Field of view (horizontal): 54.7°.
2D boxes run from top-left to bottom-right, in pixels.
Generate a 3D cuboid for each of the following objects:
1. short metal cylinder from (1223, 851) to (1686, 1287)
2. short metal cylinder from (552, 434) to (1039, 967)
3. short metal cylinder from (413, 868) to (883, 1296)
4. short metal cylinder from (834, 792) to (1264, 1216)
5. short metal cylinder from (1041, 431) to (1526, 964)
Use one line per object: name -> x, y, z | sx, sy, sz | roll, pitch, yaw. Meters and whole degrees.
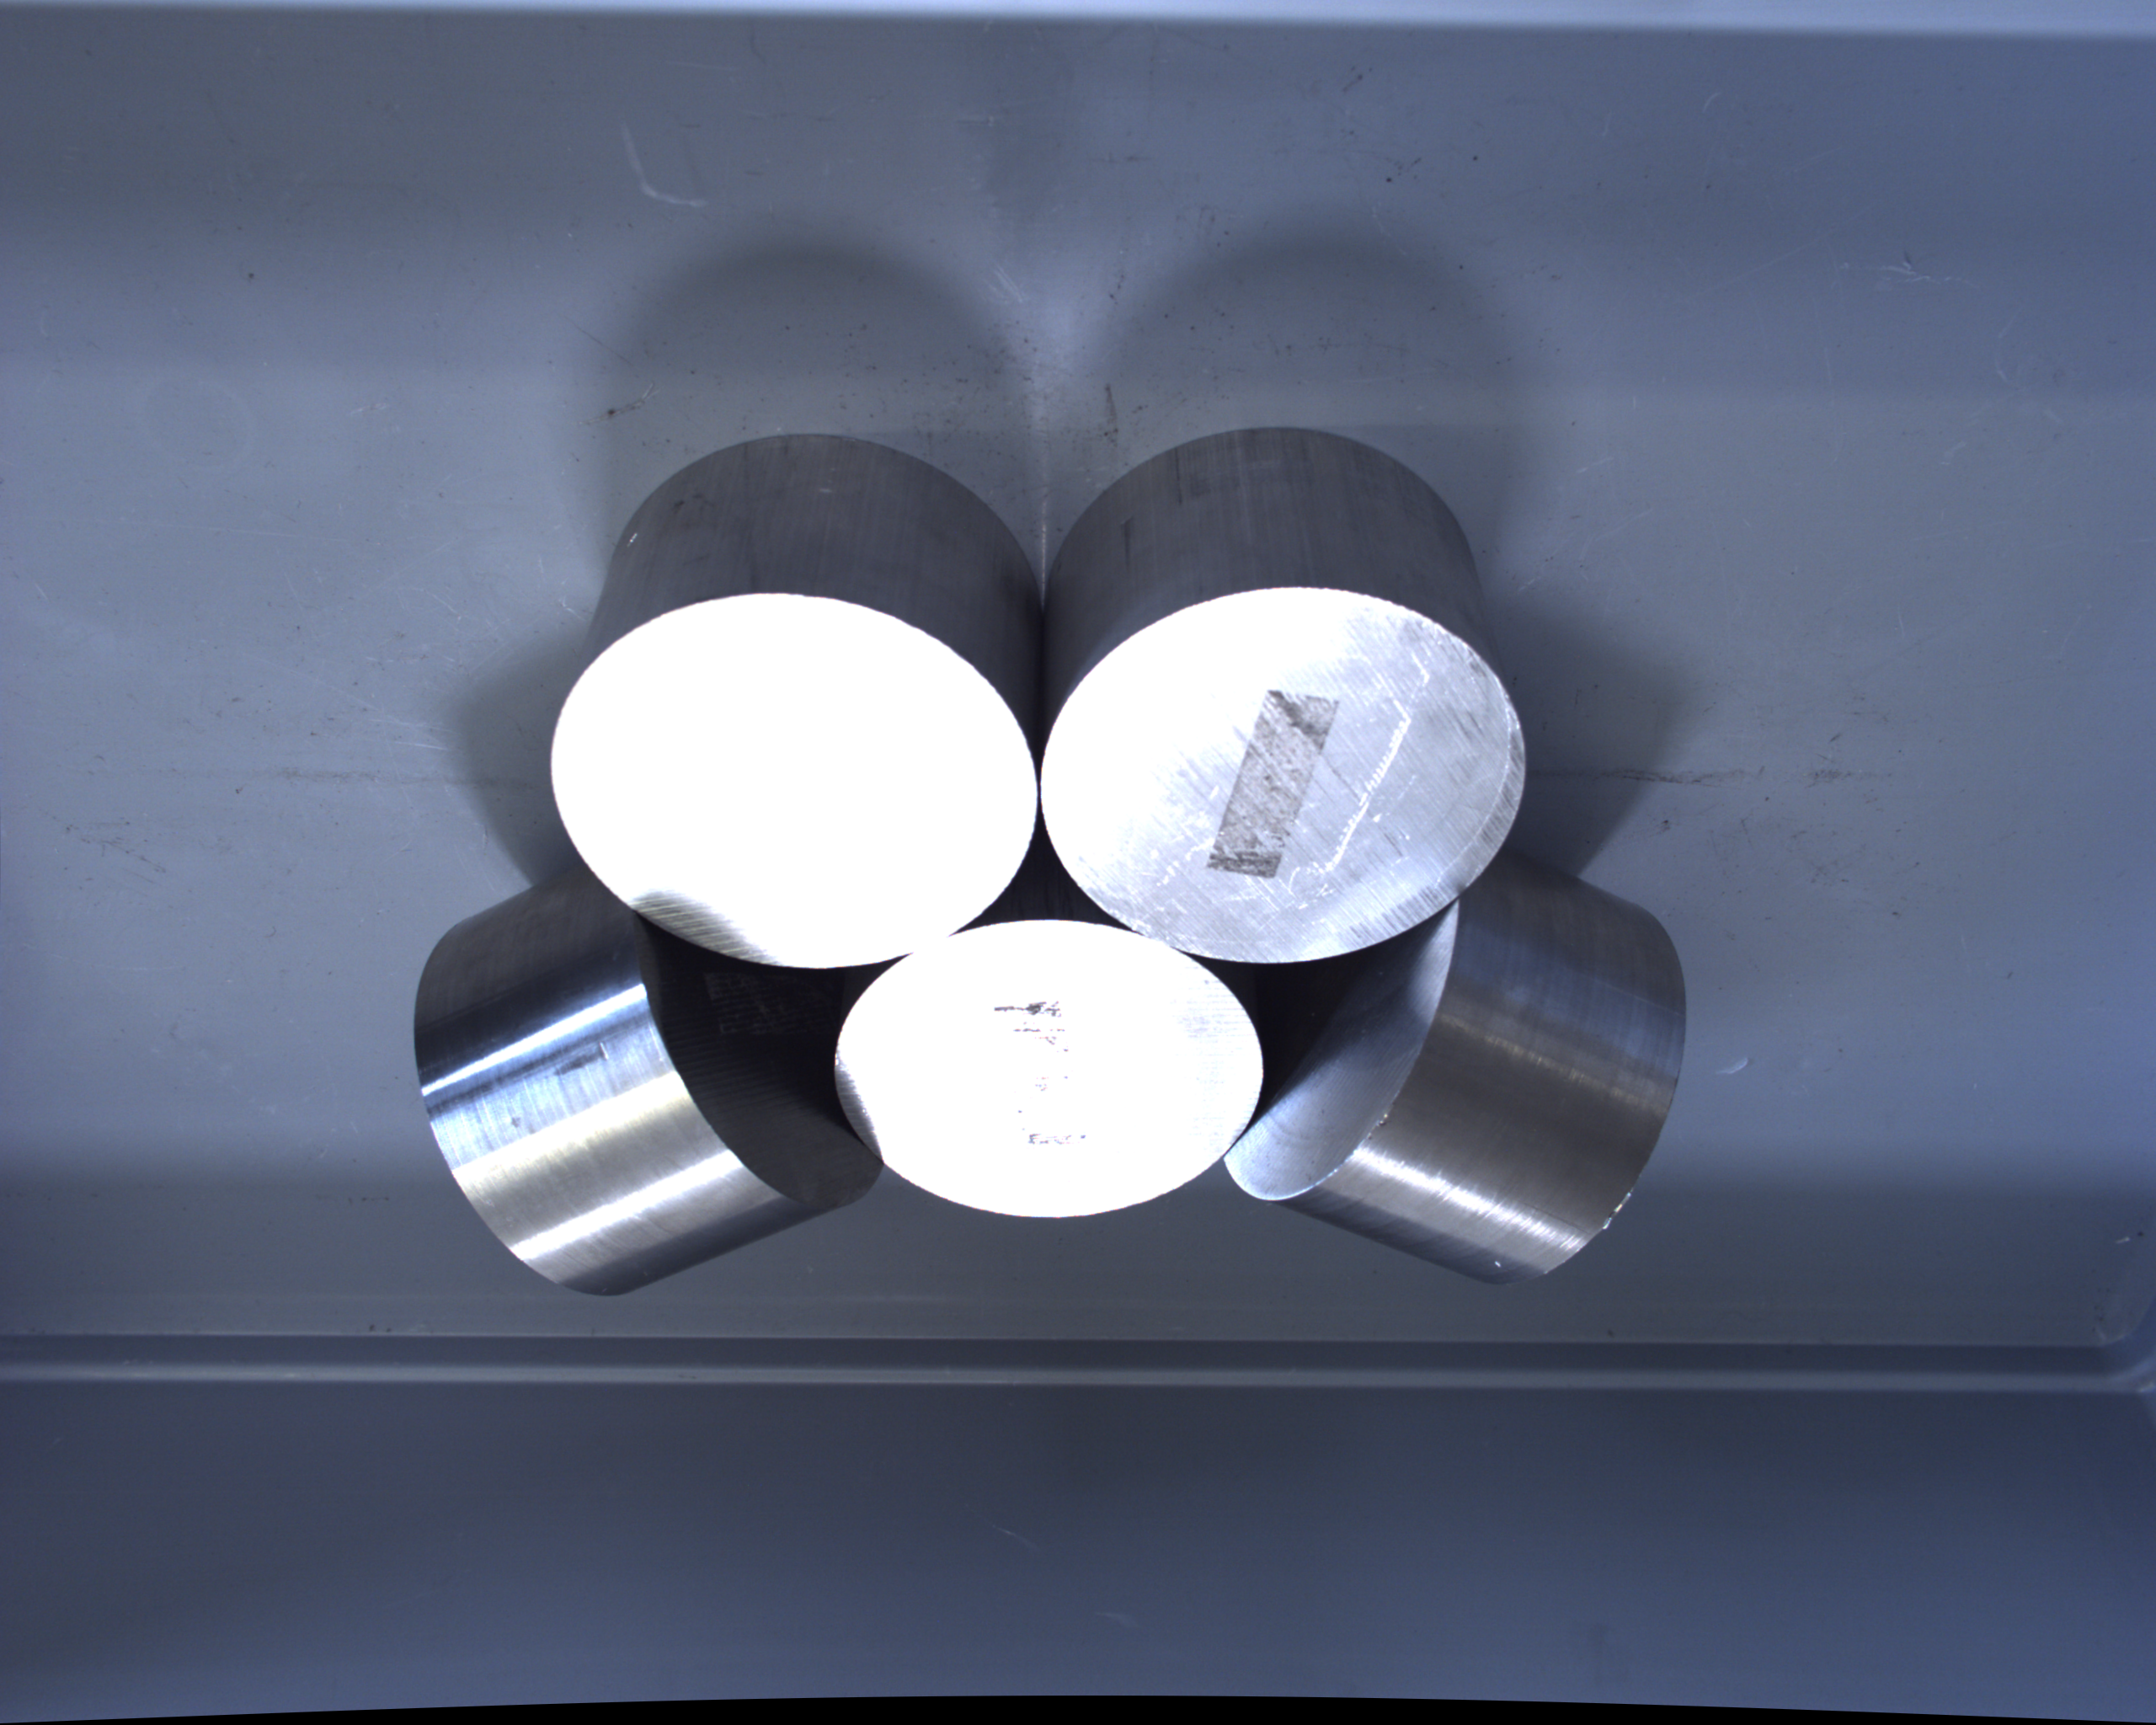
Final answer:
short metal cylinder -> 0.070, 0.035, 0.401 | 0.050, 0.080, 0.080 | 24, 126, -19
short metal cylinder -> -0.047, -0.028, 0.367 | 0.081, 0.050, 0.079 | 0, 130, 0
short metal cylinder -> -0.080, 0.037, 0.402 | 0.050, 0.080, 0.080 | -24, 126, 19
short metal cylinder -> -0.005, 0.024, 0.411 | 0.081, 0.050, 0.079 | 0, 130, 0
short metal cylinder -> 0.034, -0.028, 0.367 | 0.081, 0.050, 0.079 | 0, 130, 0
